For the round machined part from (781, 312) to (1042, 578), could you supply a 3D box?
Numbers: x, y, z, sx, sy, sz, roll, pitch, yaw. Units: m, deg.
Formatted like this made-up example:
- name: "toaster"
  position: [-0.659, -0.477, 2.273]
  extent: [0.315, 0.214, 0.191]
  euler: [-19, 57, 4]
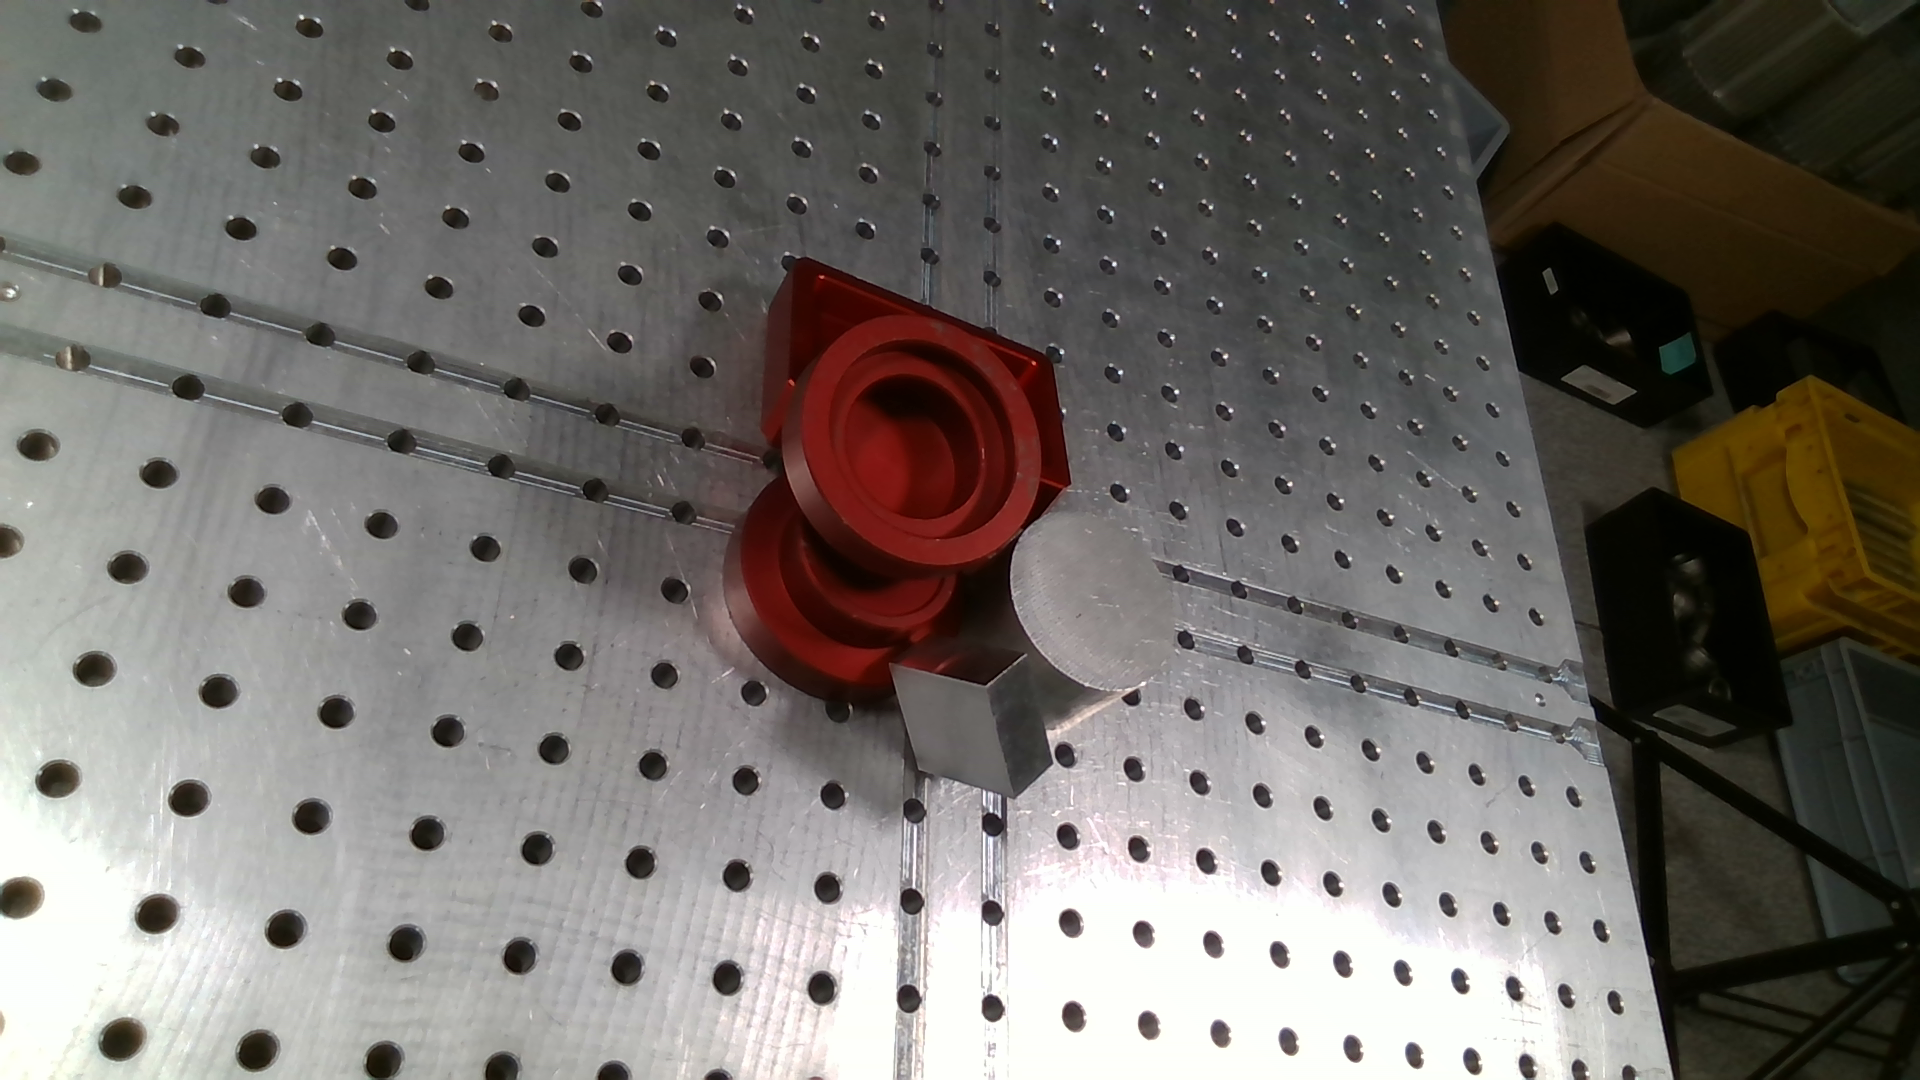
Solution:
- name: "round machined part"
  position: [-0.021, -0.033, 0.521]
  extent: [0.098, 0.042, 0.098]
  euler: [8, 71, -25]

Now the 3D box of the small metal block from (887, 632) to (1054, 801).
- name: "small metal block"
  position: [0.004, 0.067, 0.527]
  extent: [0.025, 0.050, 0.050]
  euler: [-35, 121, -39]

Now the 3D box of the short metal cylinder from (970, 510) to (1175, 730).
- name: "short metal cylinder"
  position: [0.043, 0.034, 0.581]
  extent: [0.080, 0.050, 0.080]
  euler: [14, 59, -25]

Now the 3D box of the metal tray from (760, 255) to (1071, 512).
- name: "metal tray"
  position: [-0.019, -0.064, 0.594]
  extent: [0.130, 0.030, 0.090]
  euler: [19, 42, -23]

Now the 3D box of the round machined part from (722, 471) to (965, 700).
- name: "round machined part"
  position: [-0.041, 0.011, 0.546]
  extent: [0.098, 0.042, 0.098]
  euler: [14, 59, -25]
